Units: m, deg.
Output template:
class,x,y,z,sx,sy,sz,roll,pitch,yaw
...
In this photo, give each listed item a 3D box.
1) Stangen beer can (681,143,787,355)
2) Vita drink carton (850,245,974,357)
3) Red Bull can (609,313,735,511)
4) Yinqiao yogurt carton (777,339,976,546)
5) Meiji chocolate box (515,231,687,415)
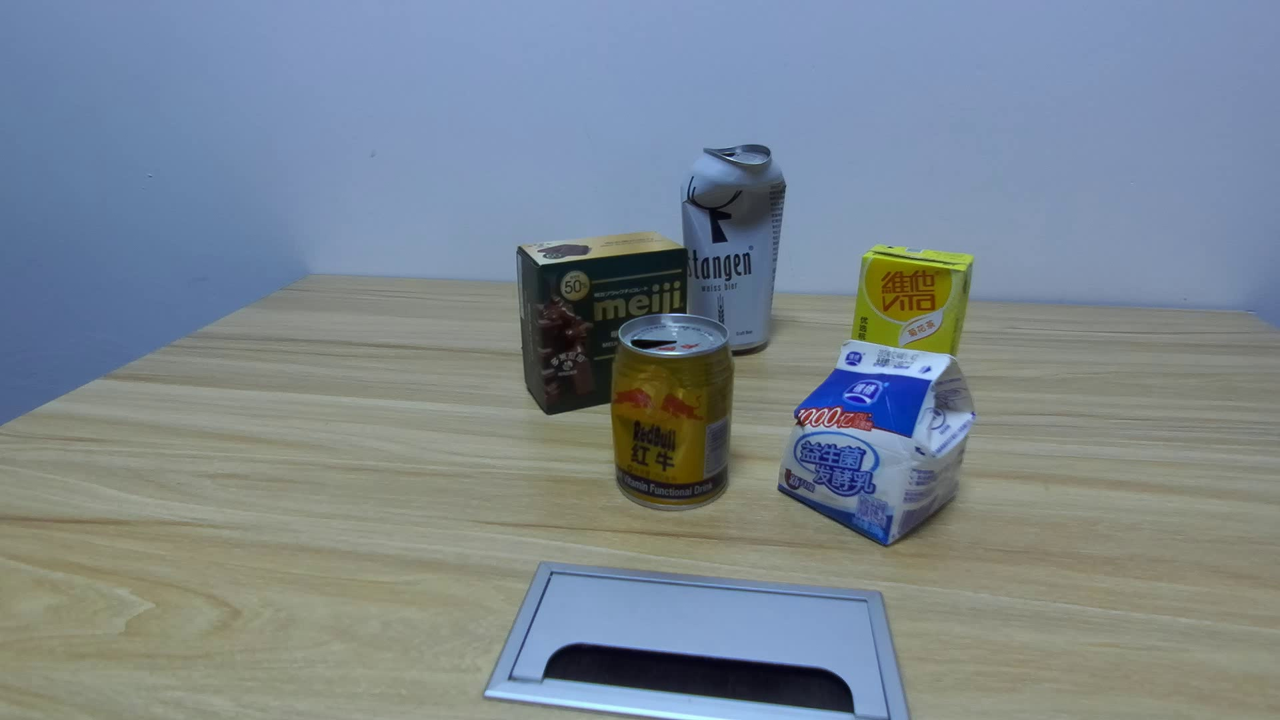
class,x,y,z,sx,sy,sz,roll,pitch,yaw
Stangen beer can,0.074,-0.087,0.569,0.065,0.162,0.077,11,27,27
Vita drink carton,0.180,-0.018,0.479,0.066,0.109,0.044,13,25,28
Red Bull can,0.018,0.027,0.394,0.069,0.092,0.069,0,23,0
Yinqiao yogurt carton,0.130,0.033,0.378,0.077,0.093,0.082,-20,30,-37
Meiji chocolate box,-0.025,-0.028,0.504,0.110,0.109,0.056,-10,25,-22
